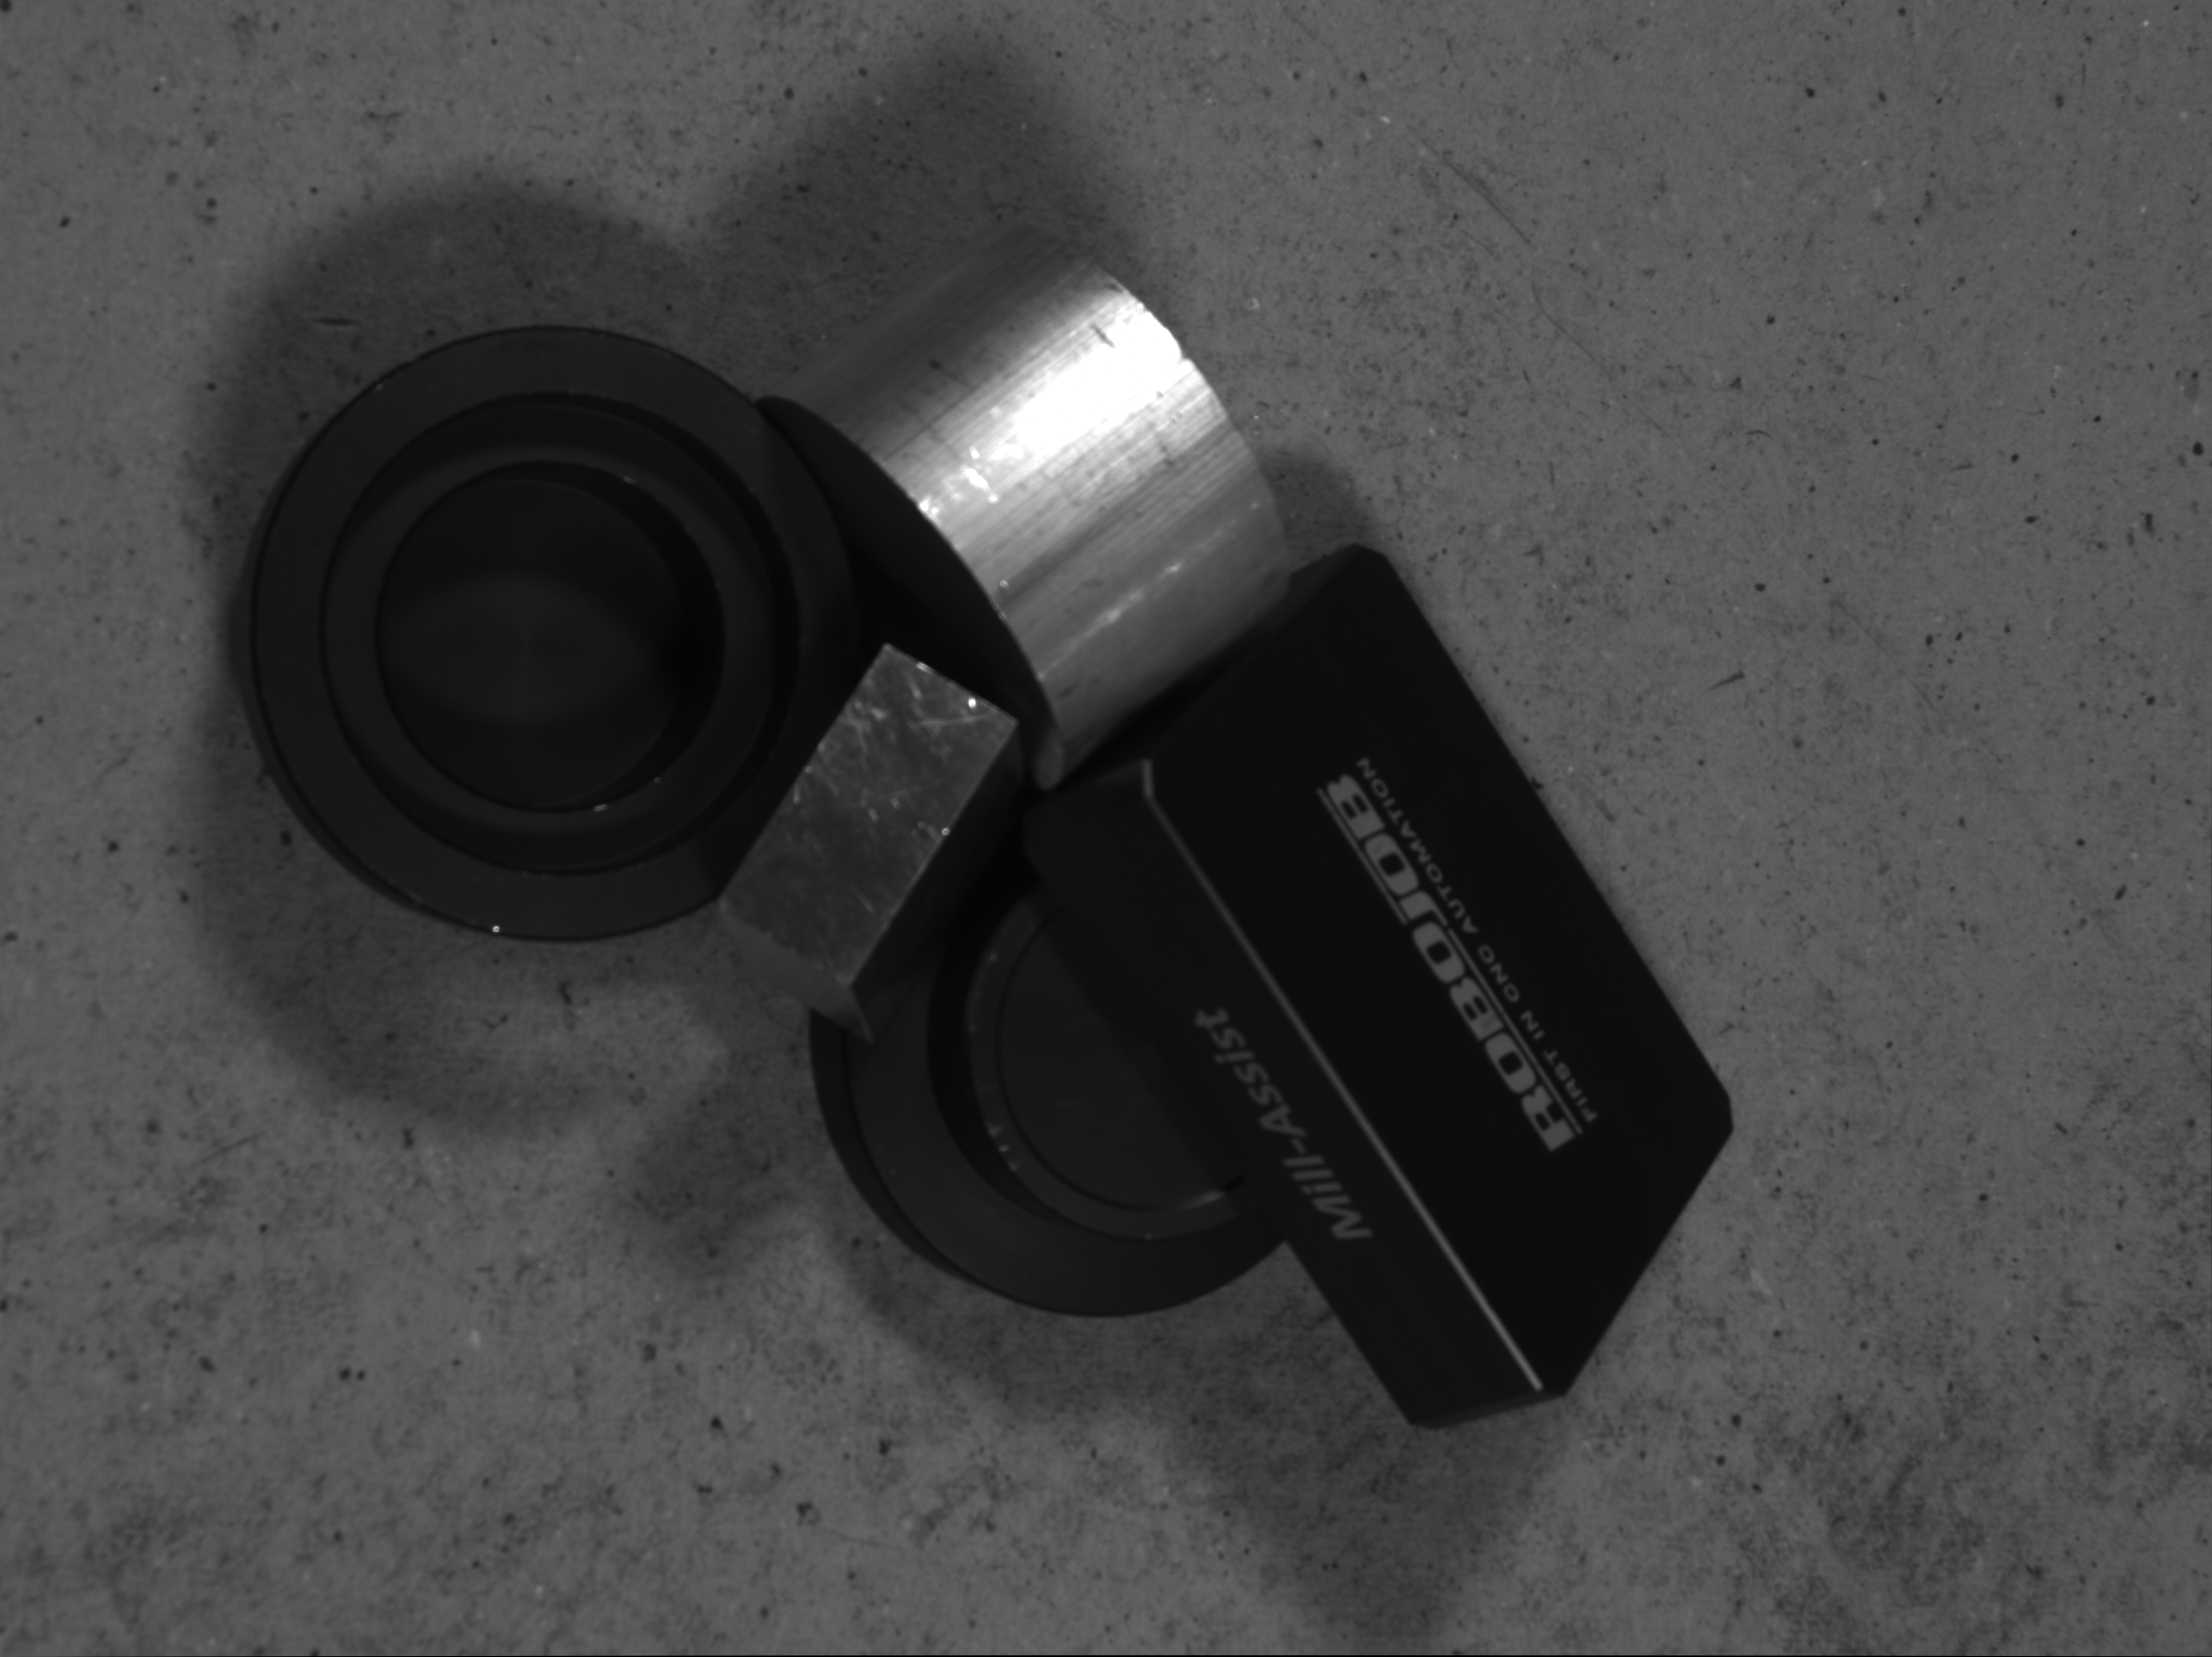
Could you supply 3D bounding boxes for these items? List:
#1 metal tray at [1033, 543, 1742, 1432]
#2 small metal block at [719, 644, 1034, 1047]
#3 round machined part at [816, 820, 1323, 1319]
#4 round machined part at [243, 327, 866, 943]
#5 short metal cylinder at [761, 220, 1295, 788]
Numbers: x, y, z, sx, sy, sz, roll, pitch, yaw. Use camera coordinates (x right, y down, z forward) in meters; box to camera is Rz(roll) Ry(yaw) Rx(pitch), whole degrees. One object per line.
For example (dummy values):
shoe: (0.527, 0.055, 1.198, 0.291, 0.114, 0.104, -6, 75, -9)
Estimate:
metal tray: (0.052, 0.027, 0.636, 0.130, 0.030, 0.090, 57, 42, -11)
small metal block: (-0.036, 0.004, 0.598, 0.025, 0.050, 0.050, 30, 79, 8)
round machined part: (0.002, 0.036, 0.635, 0.098, 0.042, 0.098, 0, 90, -20)
round machined part: (-0.092, -0.031, 0.601, 0.098, 0.042, 0.098, 0, 90, -20)
short metal cylinder: (-0.014, -0.054, 0.610, 0.050, 0.080, 0.080, -39, 102, -16)
